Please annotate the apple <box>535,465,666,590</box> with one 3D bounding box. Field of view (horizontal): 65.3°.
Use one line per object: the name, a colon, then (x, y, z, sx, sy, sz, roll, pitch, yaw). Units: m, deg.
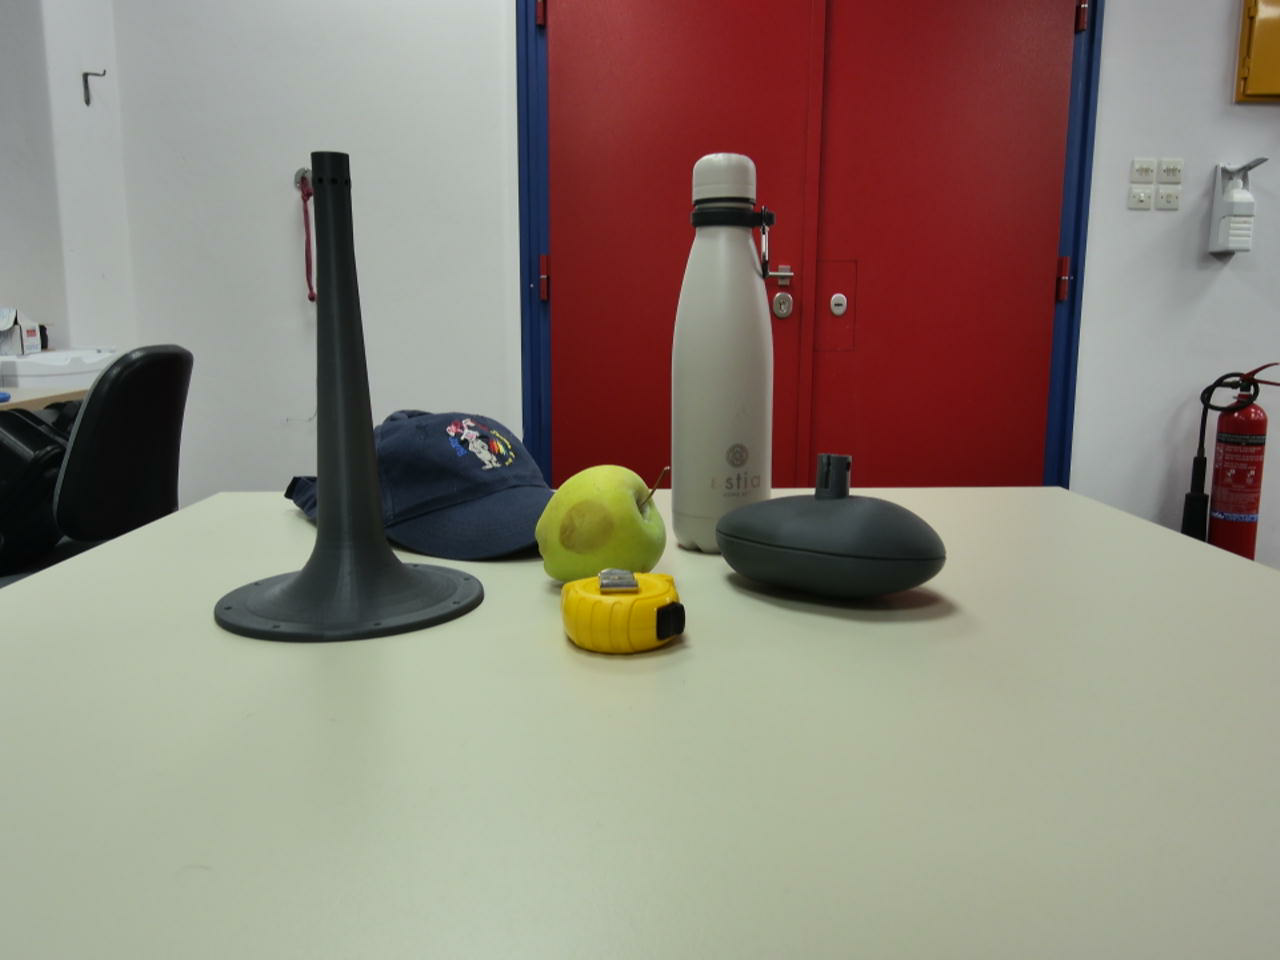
apple: (-0.023, 0.028, 0.614, 0.077, 0.075, 0.072, 8, 10, 43)
